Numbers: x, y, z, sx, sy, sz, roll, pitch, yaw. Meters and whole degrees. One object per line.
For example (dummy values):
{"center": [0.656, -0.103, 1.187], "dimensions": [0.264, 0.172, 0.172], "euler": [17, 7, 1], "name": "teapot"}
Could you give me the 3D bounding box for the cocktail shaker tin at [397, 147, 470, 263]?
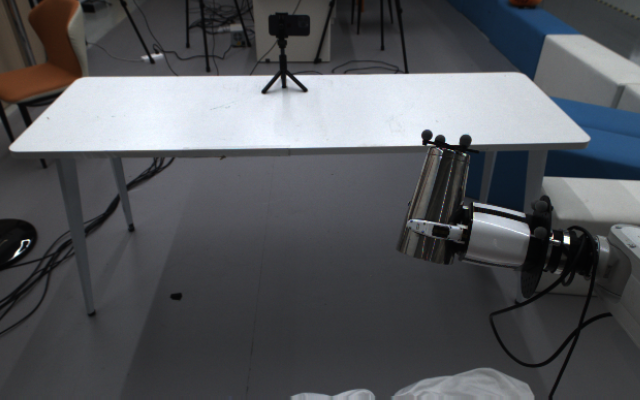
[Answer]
{"center": [0.185, 0.006, 0.767], "dimensions": [0.093, 0.170, 0.093], "euler": [13, 4, -1], "name": "cocktail shaker tin"}
